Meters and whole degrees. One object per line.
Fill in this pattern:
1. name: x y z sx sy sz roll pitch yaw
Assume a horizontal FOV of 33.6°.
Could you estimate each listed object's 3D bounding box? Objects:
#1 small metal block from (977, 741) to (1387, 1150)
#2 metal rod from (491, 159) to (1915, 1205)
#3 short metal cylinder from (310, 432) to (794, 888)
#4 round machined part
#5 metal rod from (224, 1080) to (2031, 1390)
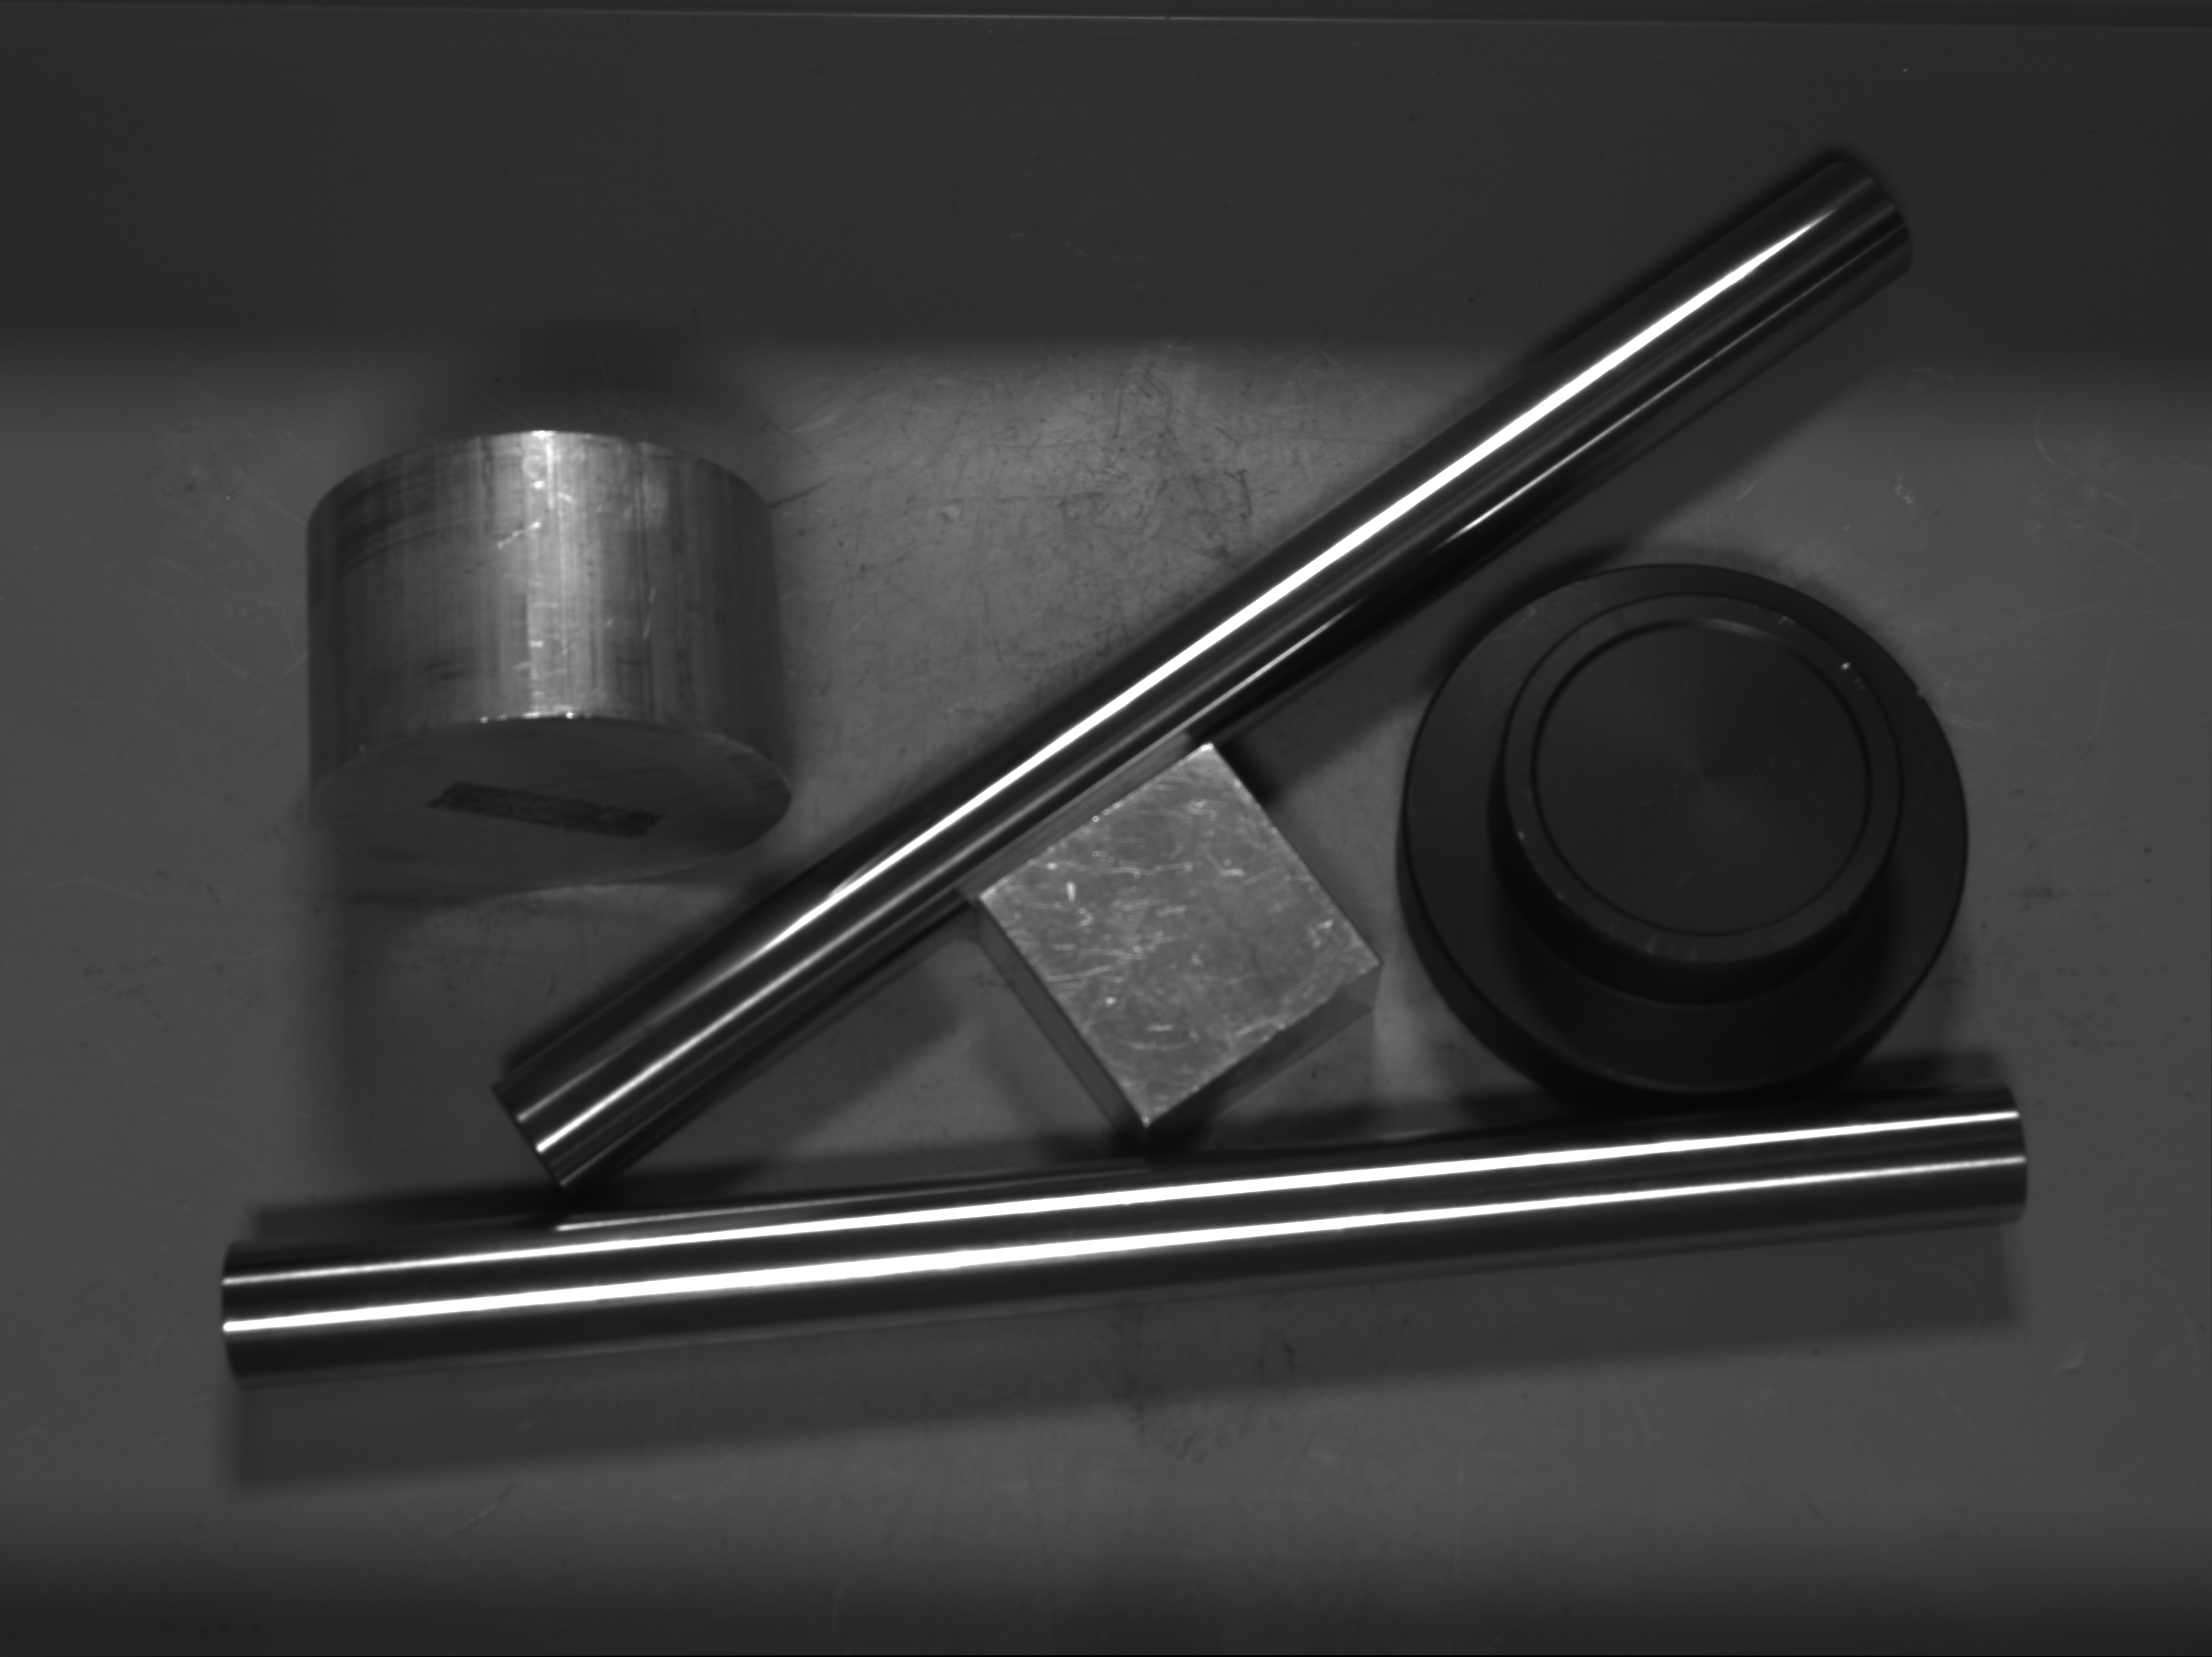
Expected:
1. small metal block: 0.013 0.022 0.635 0.050 0.025 0.050 -34 73 -12
2. metal rod: 0.023 -0.030 0.655 0.300 0.025 0.025 -35 73 -12
3. short metal cylinder: -0.095 -0.027 0.625 0.080 0.080 0.050 -5 70 -2
4. round machined part: 0.101 -0.002 0.634 0.098 0.042 0.098 0 70 0
5. metal rod: 0.004 0.068 0.618 0.300 0.025 0.025 -5 70 -2
